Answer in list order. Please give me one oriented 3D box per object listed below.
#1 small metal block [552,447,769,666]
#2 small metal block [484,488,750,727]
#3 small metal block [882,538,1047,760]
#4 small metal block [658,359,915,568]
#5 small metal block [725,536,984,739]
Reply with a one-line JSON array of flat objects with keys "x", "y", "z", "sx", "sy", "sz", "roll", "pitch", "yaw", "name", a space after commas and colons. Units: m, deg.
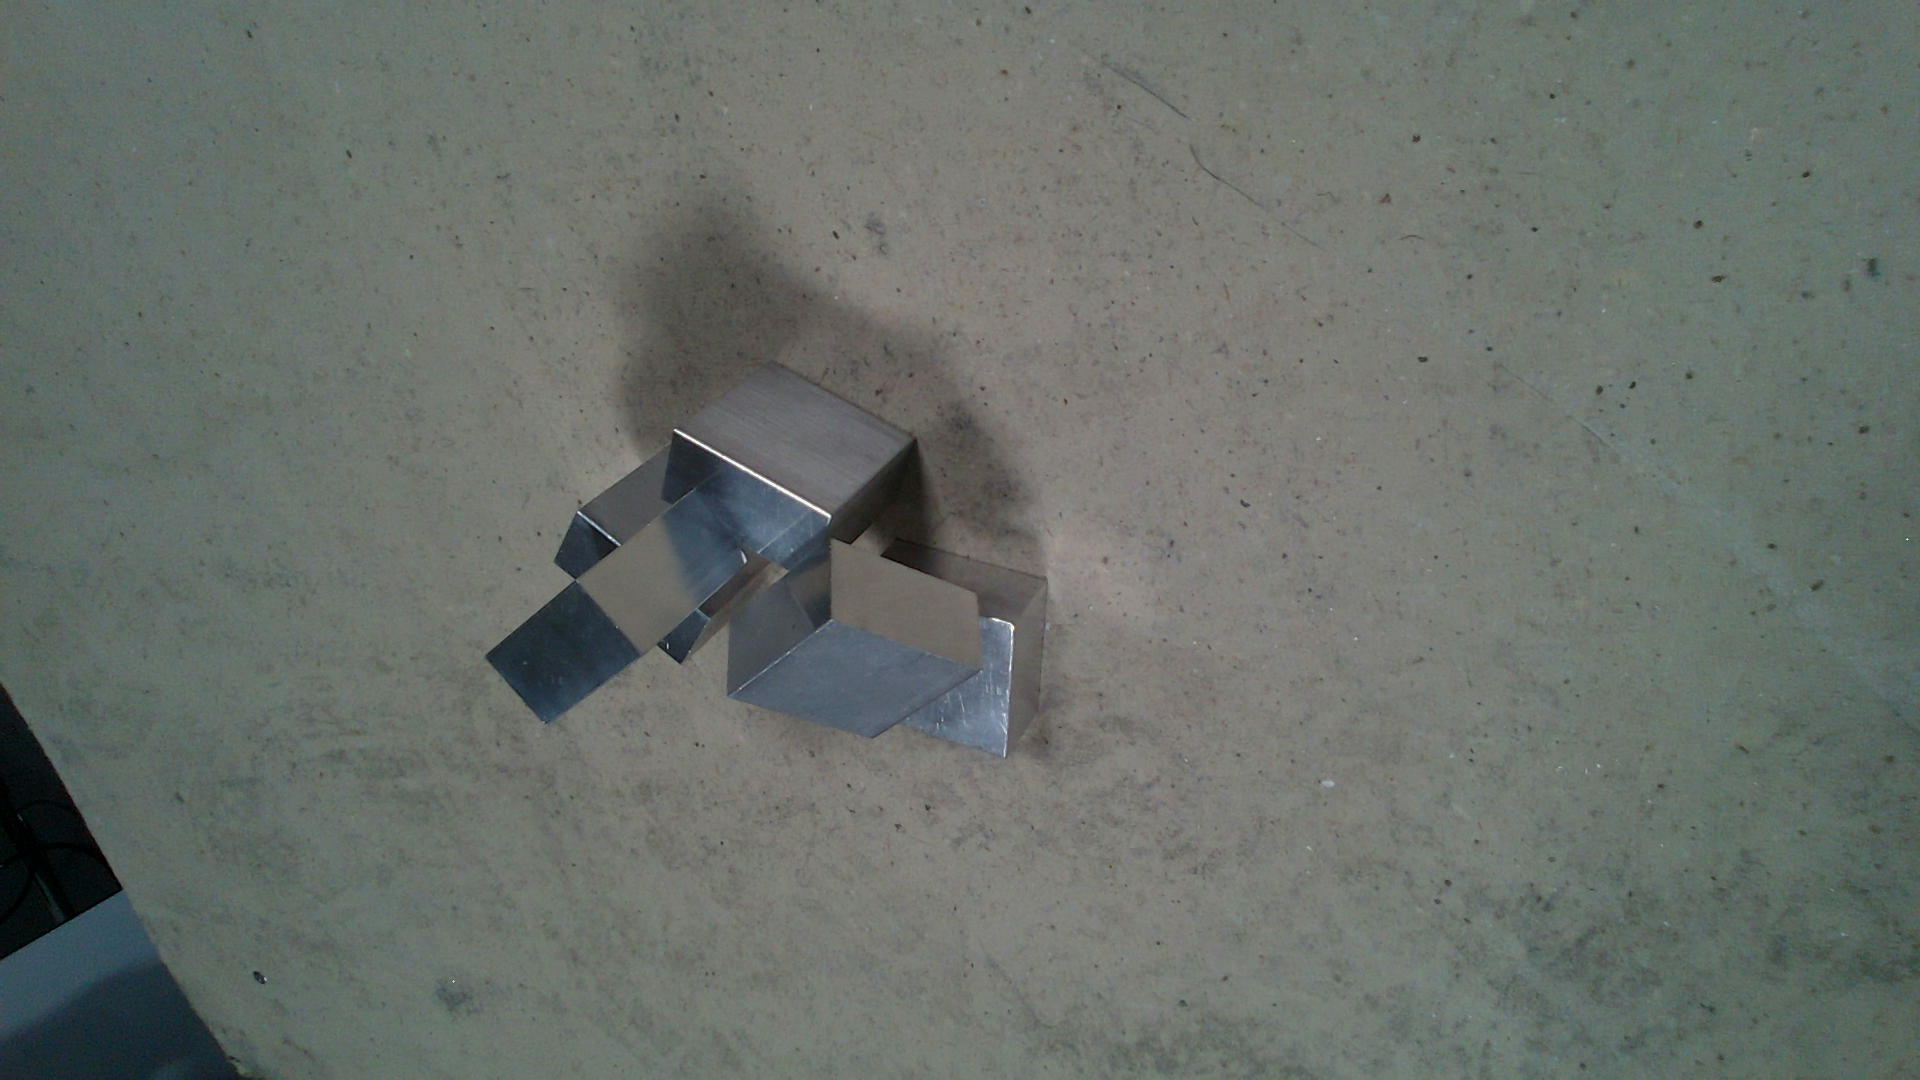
[{"x": -0.087, "y": 0.003, "z": 0.426, "sx": 0.050, "sy": 0.050, "sz": 0.025, "roll": 39, "pitch": 129, "yaw": 2, "name": "small metal block"}, {"x": -0.093, "y": 0.018, "z": 0.373, "sx": 0.050, "sy": 0.050, "sz": 0.025, "roll": -33, "pitch": 100, "yaw": 38, "name": "small metal block"}, {"x": -0.003, "y": 0.033, "z": 0.415, "sx": 0.050, "sy": 0.025, "sz": 0.050, "roll": 15, "pitch": 125, "yaw": 20, "name": "small metal block"}, {"x": -0.049, "y": -0.021, "z": 0.391, "sx": 0.050, "sy": 0.050, "sz": 0.025, "roll": 29, "pitch": 128, "yaw": 10, "name": "small metal block"}, {"x": -0.030, "y": 0.029, "z": 0.379, "sx": 0.050, "sy": 0.025, "sz": 0.050, "roll": 22, "pitch": 139, "yaw": -34, "name": "small metal block"}]
